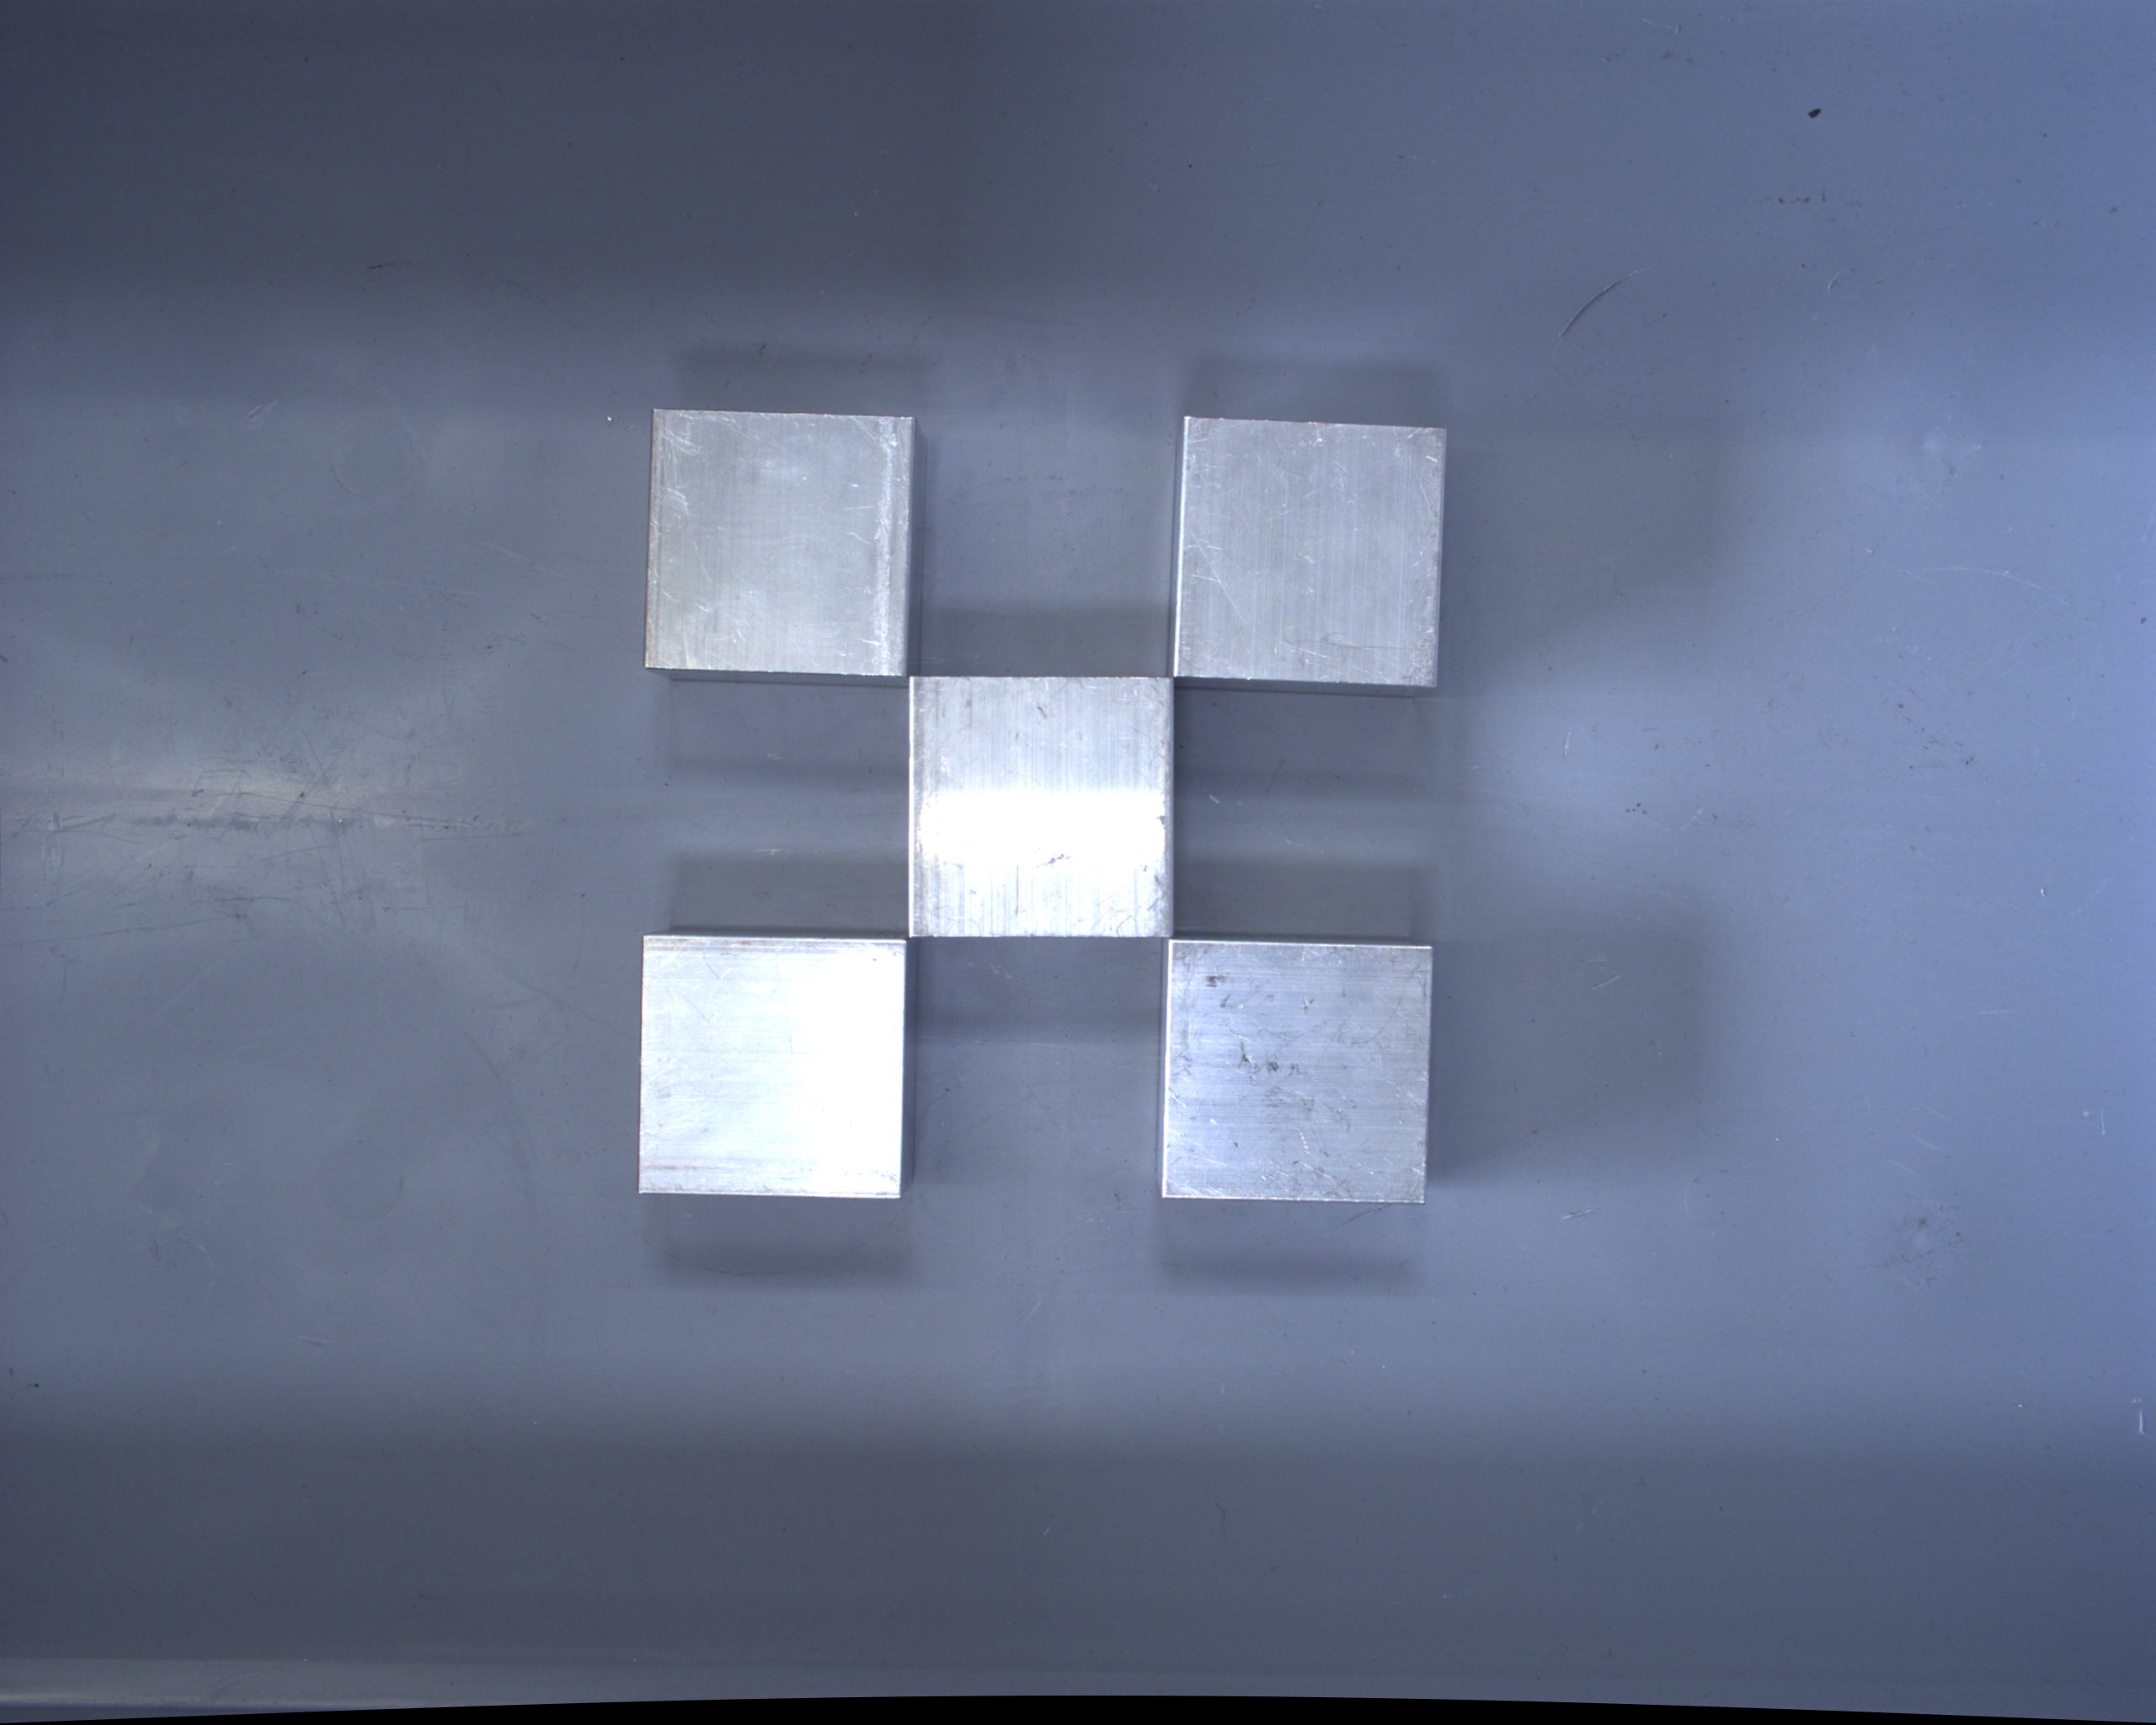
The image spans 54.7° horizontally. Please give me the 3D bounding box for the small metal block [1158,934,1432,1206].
[{"bbox_3d":[0.042,0.040,0.409,0.050,0.025,0.050,1,90,0],"label":"small metal block"}]

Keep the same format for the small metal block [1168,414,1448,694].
[{"bbox_3d":[0.044,-0.059,0.409,0.050,0.025,0.050,2,90,0],"label":"small metal block"}]

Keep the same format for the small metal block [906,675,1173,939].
[{"bbox_3d":[-0.007,-0.011,0.409,0.050,0.025,0.050,1,90,0],"label":"small metal block"}]

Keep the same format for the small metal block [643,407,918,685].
[{"bbox_3d":[-0.057,-0.061,0.409,0.050,0.025,0.050,2,90,0],"label":"small metal block"}]

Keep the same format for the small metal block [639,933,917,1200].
[{"bbox_3d":[-0.058,0.039,0.409,0.050,0.025,0.050,1,90,0],"label":"small metal block"}]
